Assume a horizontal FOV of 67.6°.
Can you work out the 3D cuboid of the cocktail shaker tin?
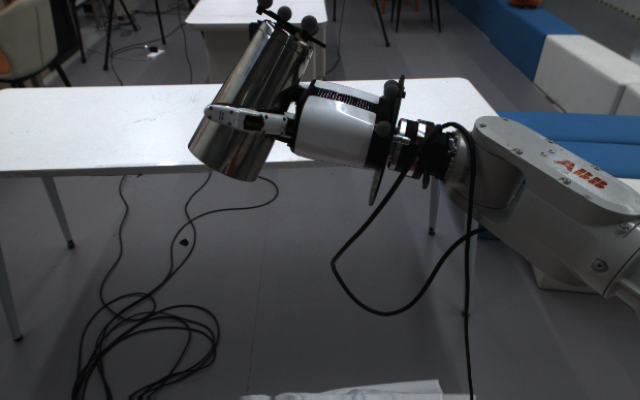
[{"bbox_3d":[-0.077,-0.118,0.570,0.093,0.170,0.093,28,13,-7],"label":"cocktail shaker tin"}]
